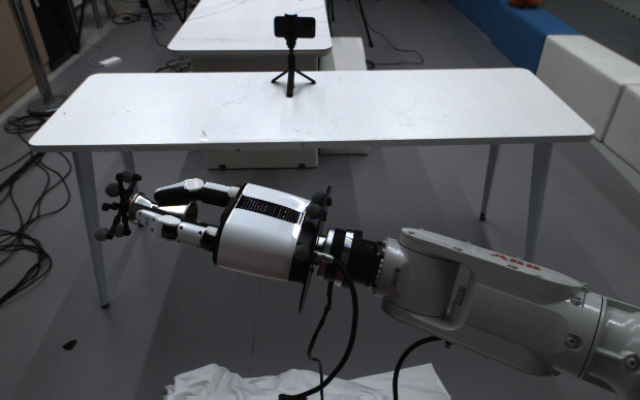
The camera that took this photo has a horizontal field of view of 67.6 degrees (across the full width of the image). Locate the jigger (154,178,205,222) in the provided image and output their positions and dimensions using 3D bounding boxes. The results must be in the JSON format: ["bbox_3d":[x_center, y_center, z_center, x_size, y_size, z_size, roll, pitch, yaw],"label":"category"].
[{"bbox_3d":[-0.180,0.014,0.579,0.071,0.043,0.043,11,35,5],"label":"jigger"}]
